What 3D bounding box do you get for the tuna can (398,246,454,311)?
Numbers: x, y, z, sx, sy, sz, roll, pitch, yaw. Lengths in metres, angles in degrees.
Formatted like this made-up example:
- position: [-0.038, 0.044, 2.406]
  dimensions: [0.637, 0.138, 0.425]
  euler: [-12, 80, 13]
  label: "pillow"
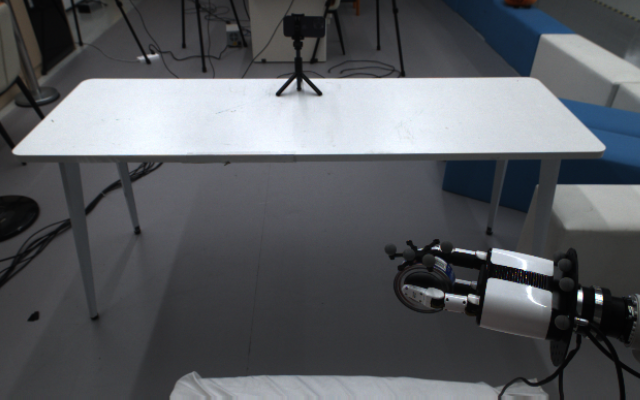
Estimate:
- position: [0.154, 0.119, 0.703]
  dimensions: [0.085, 0.085, 0.034]
  euler: [13, 28, 15]
  label: "tuna can"
